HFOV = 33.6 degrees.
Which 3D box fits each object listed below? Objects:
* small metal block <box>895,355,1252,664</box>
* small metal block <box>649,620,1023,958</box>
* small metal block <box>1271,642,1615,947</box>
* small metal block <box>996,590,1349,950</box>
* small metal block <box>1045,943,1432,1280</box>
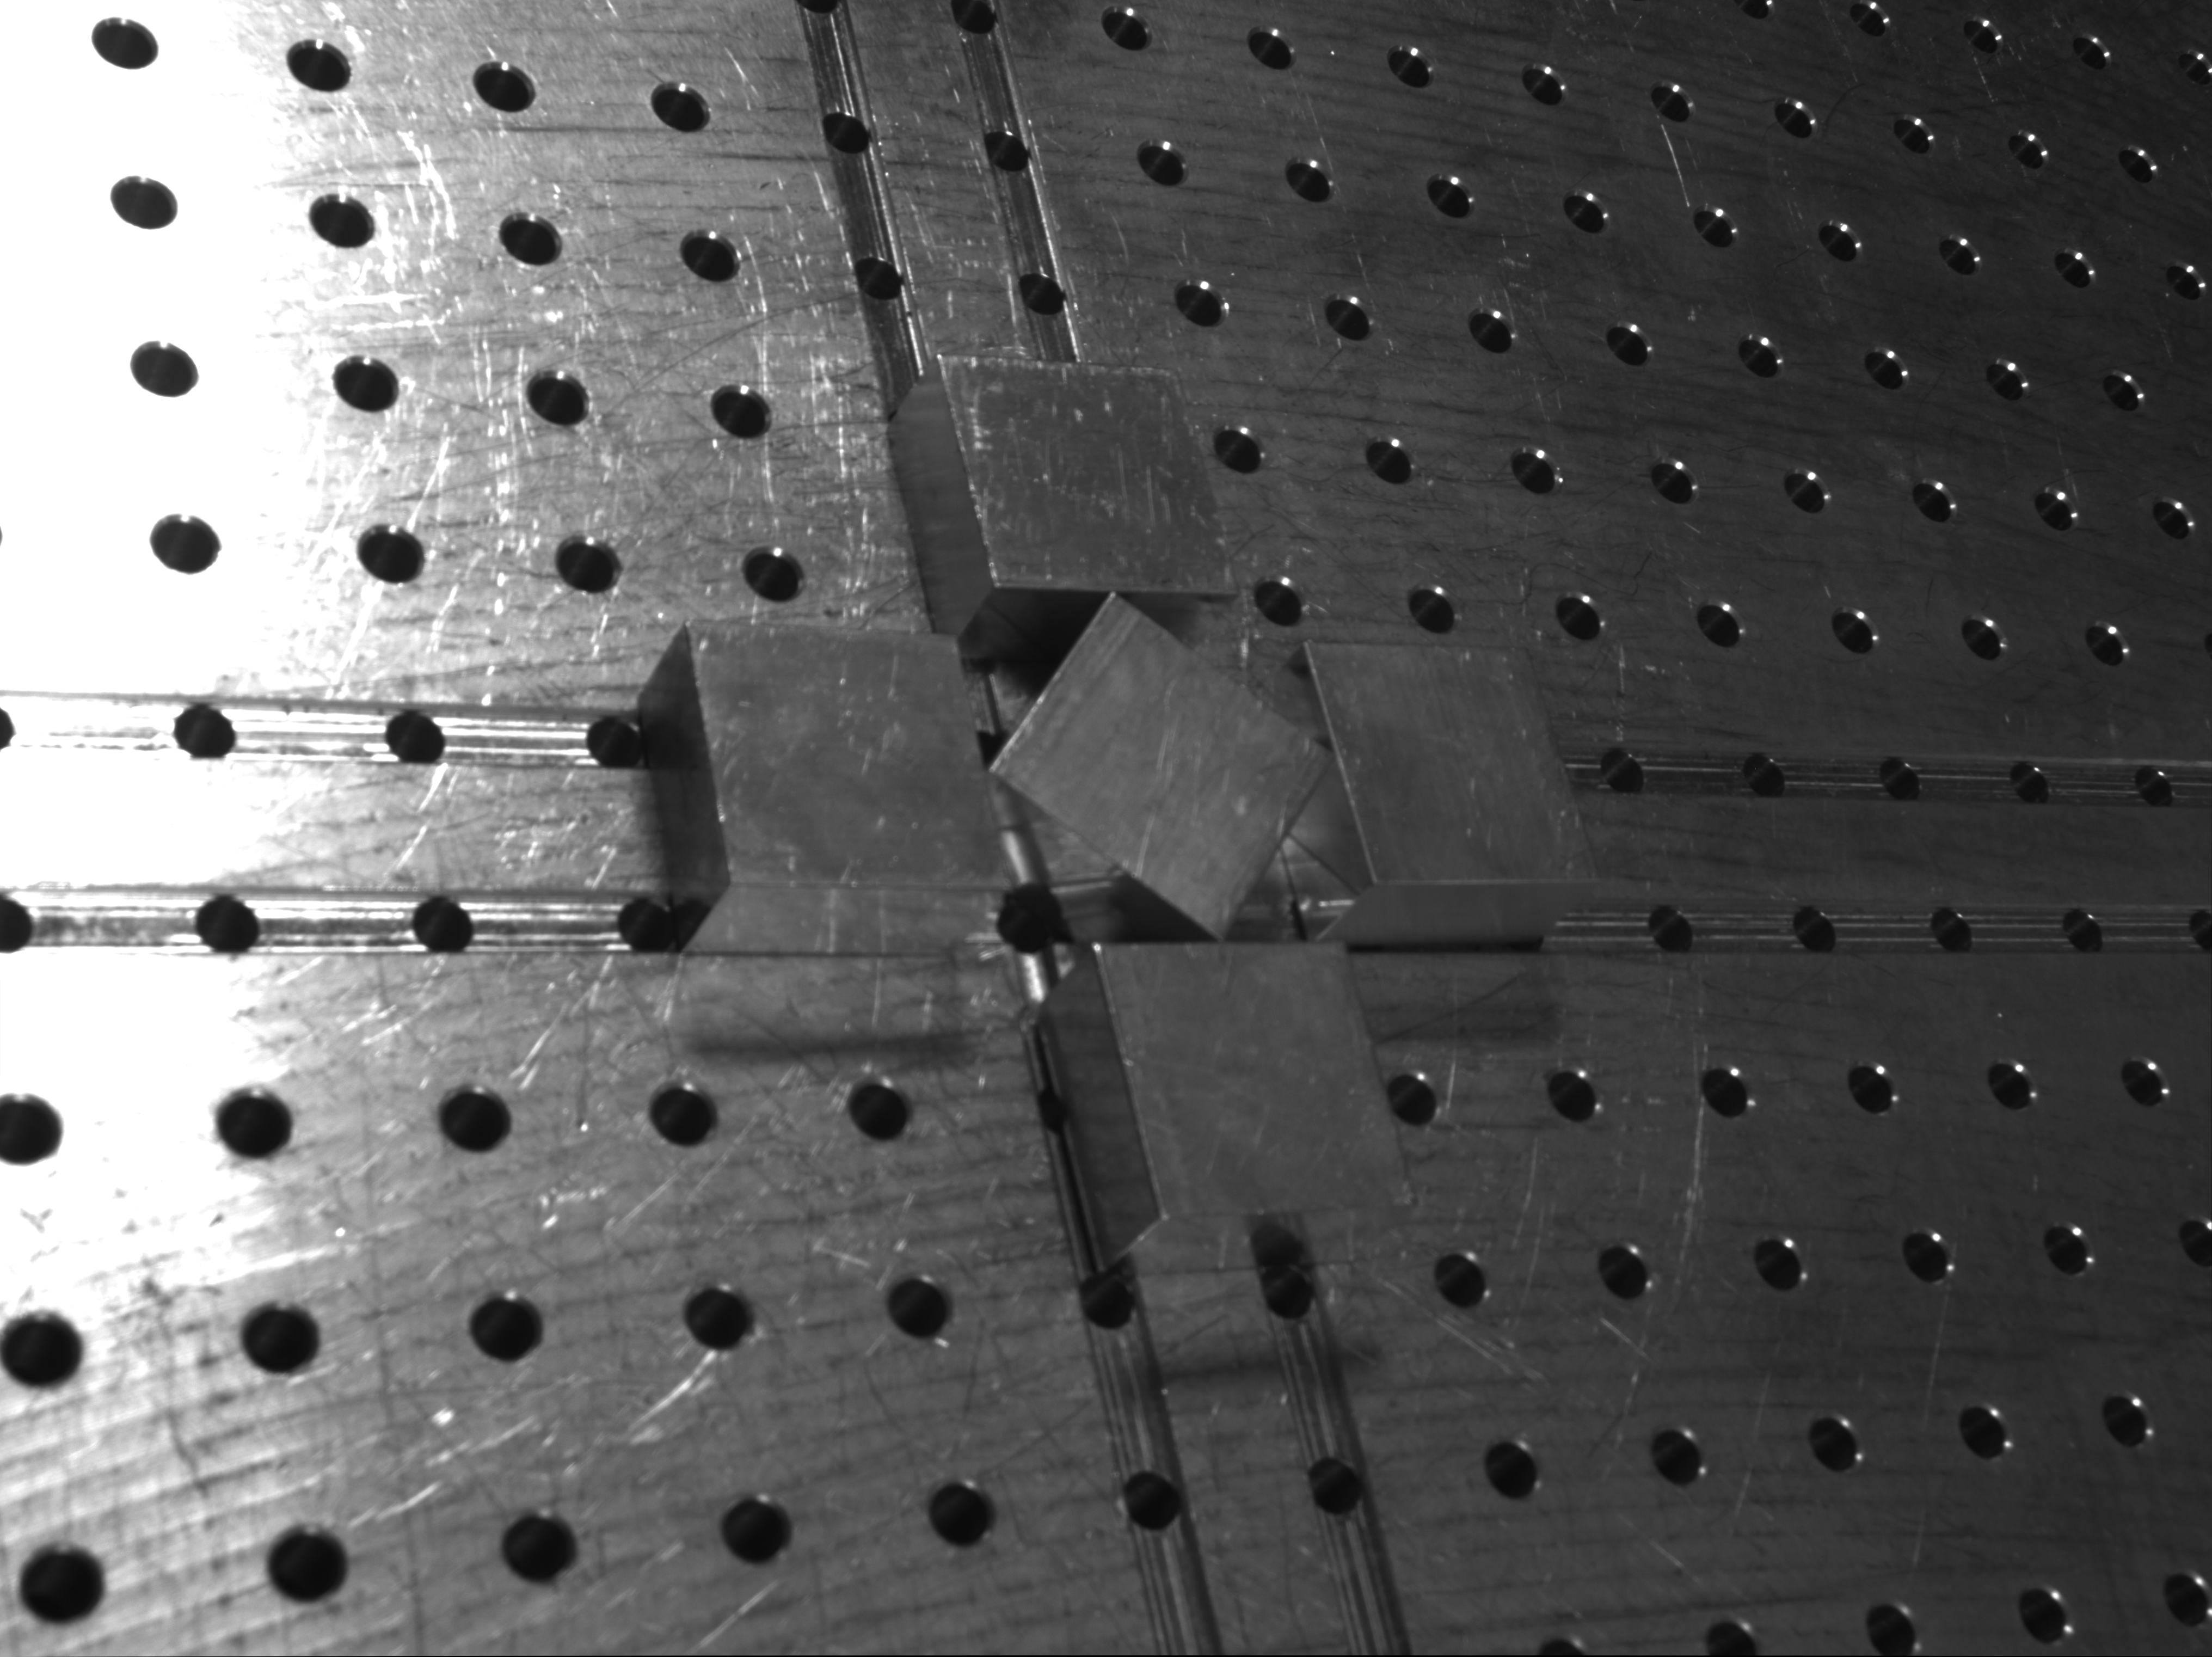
[{"bbox_3d":[-0.006,-0.058,0.675,0.050,0.025,0.050,0,62,-28],"label":"small metal block"},{"bbox_3d":[-0.046,-0.006,0.622,0.050,0.025,0.050,2,61,-27],"label":"small metal block"},{"bbox_3d":[0.060,-0.006,0.679,0.050,0.025,0.050,0,62,-28],"label":"small metal block"},{"bbox_3d":[0.008,-0.006,0.650,0.050,0.025,0.050,36,51,-4],"label":"small metal block"},{"bbox_3d":[0.022,0.048,0.625,0.050,0.025,0.050,0,61,-28],"label":"small metal block"}]
